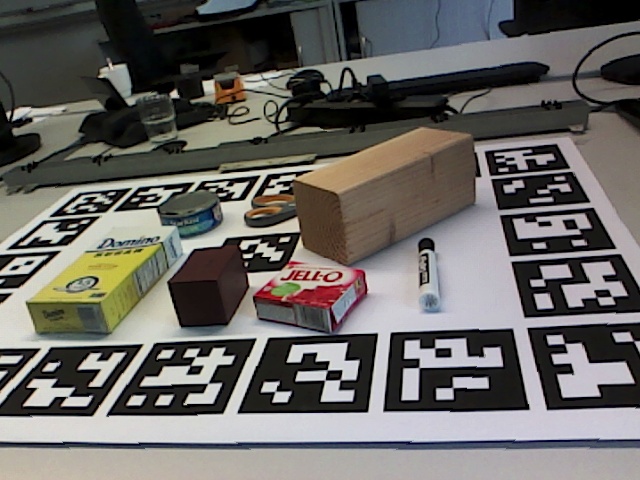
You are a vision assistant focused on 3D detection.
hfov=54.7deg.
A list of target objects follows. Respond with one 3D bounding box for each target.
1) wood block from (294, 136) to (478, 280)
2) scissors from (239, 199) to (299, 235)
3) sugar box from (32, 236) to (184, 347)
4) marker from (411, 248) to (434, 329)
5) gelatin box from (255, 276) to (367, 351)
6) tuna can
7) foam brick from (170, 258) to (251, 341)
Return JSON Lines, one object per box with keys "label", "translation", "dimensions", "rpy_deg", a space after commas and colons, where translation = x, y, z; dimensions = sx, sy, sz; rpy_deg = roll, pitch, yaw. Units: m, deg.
{"label": "wood block", "translation": [0.084, -0.044, 0.736], "dimensions": [0.205, 0.090, 0.090], "rpy_deg": [-26, 30, -28]}
{"label": "scissors", "translation": [-0.014, -0.036, 0.833], "dimensions": [0.204, 0.016, 0.087], "rpy_deg": [-3, 29, 21]}
{"label": "sugar box", "translation": [-0.238, 0.054, 0.720], "dimensions": [0.093, 0.045, 0.176], "rpy_deg": [-2, 29, 17]}
{"label": "marker", "translation": [0.105, 0.044, 0.625], "dimensions": [0.020, 0.019, 0.121], "rpy_deg": [-4, 30, 14]}
{"label": "gelatin box", "translation": [-0.008, 0.070, 0.614], "dimensions": [0.090, 0.030, 0.073], "rpy_deg": [5, 32, 30]}
{"label": "tuna can", "translation": [-0.186, -0.029, 0.861], "dimensions": [0.086, 0.033, 0.086], "rpy_deg": [-10, 28, 5]}
{"label": "foam brick", "translation": [-0.110, 0.061, 0.639], "dimensions": [0.053, 0.051, 0.078], "rpy_deg": [-4, 29, 15]}
